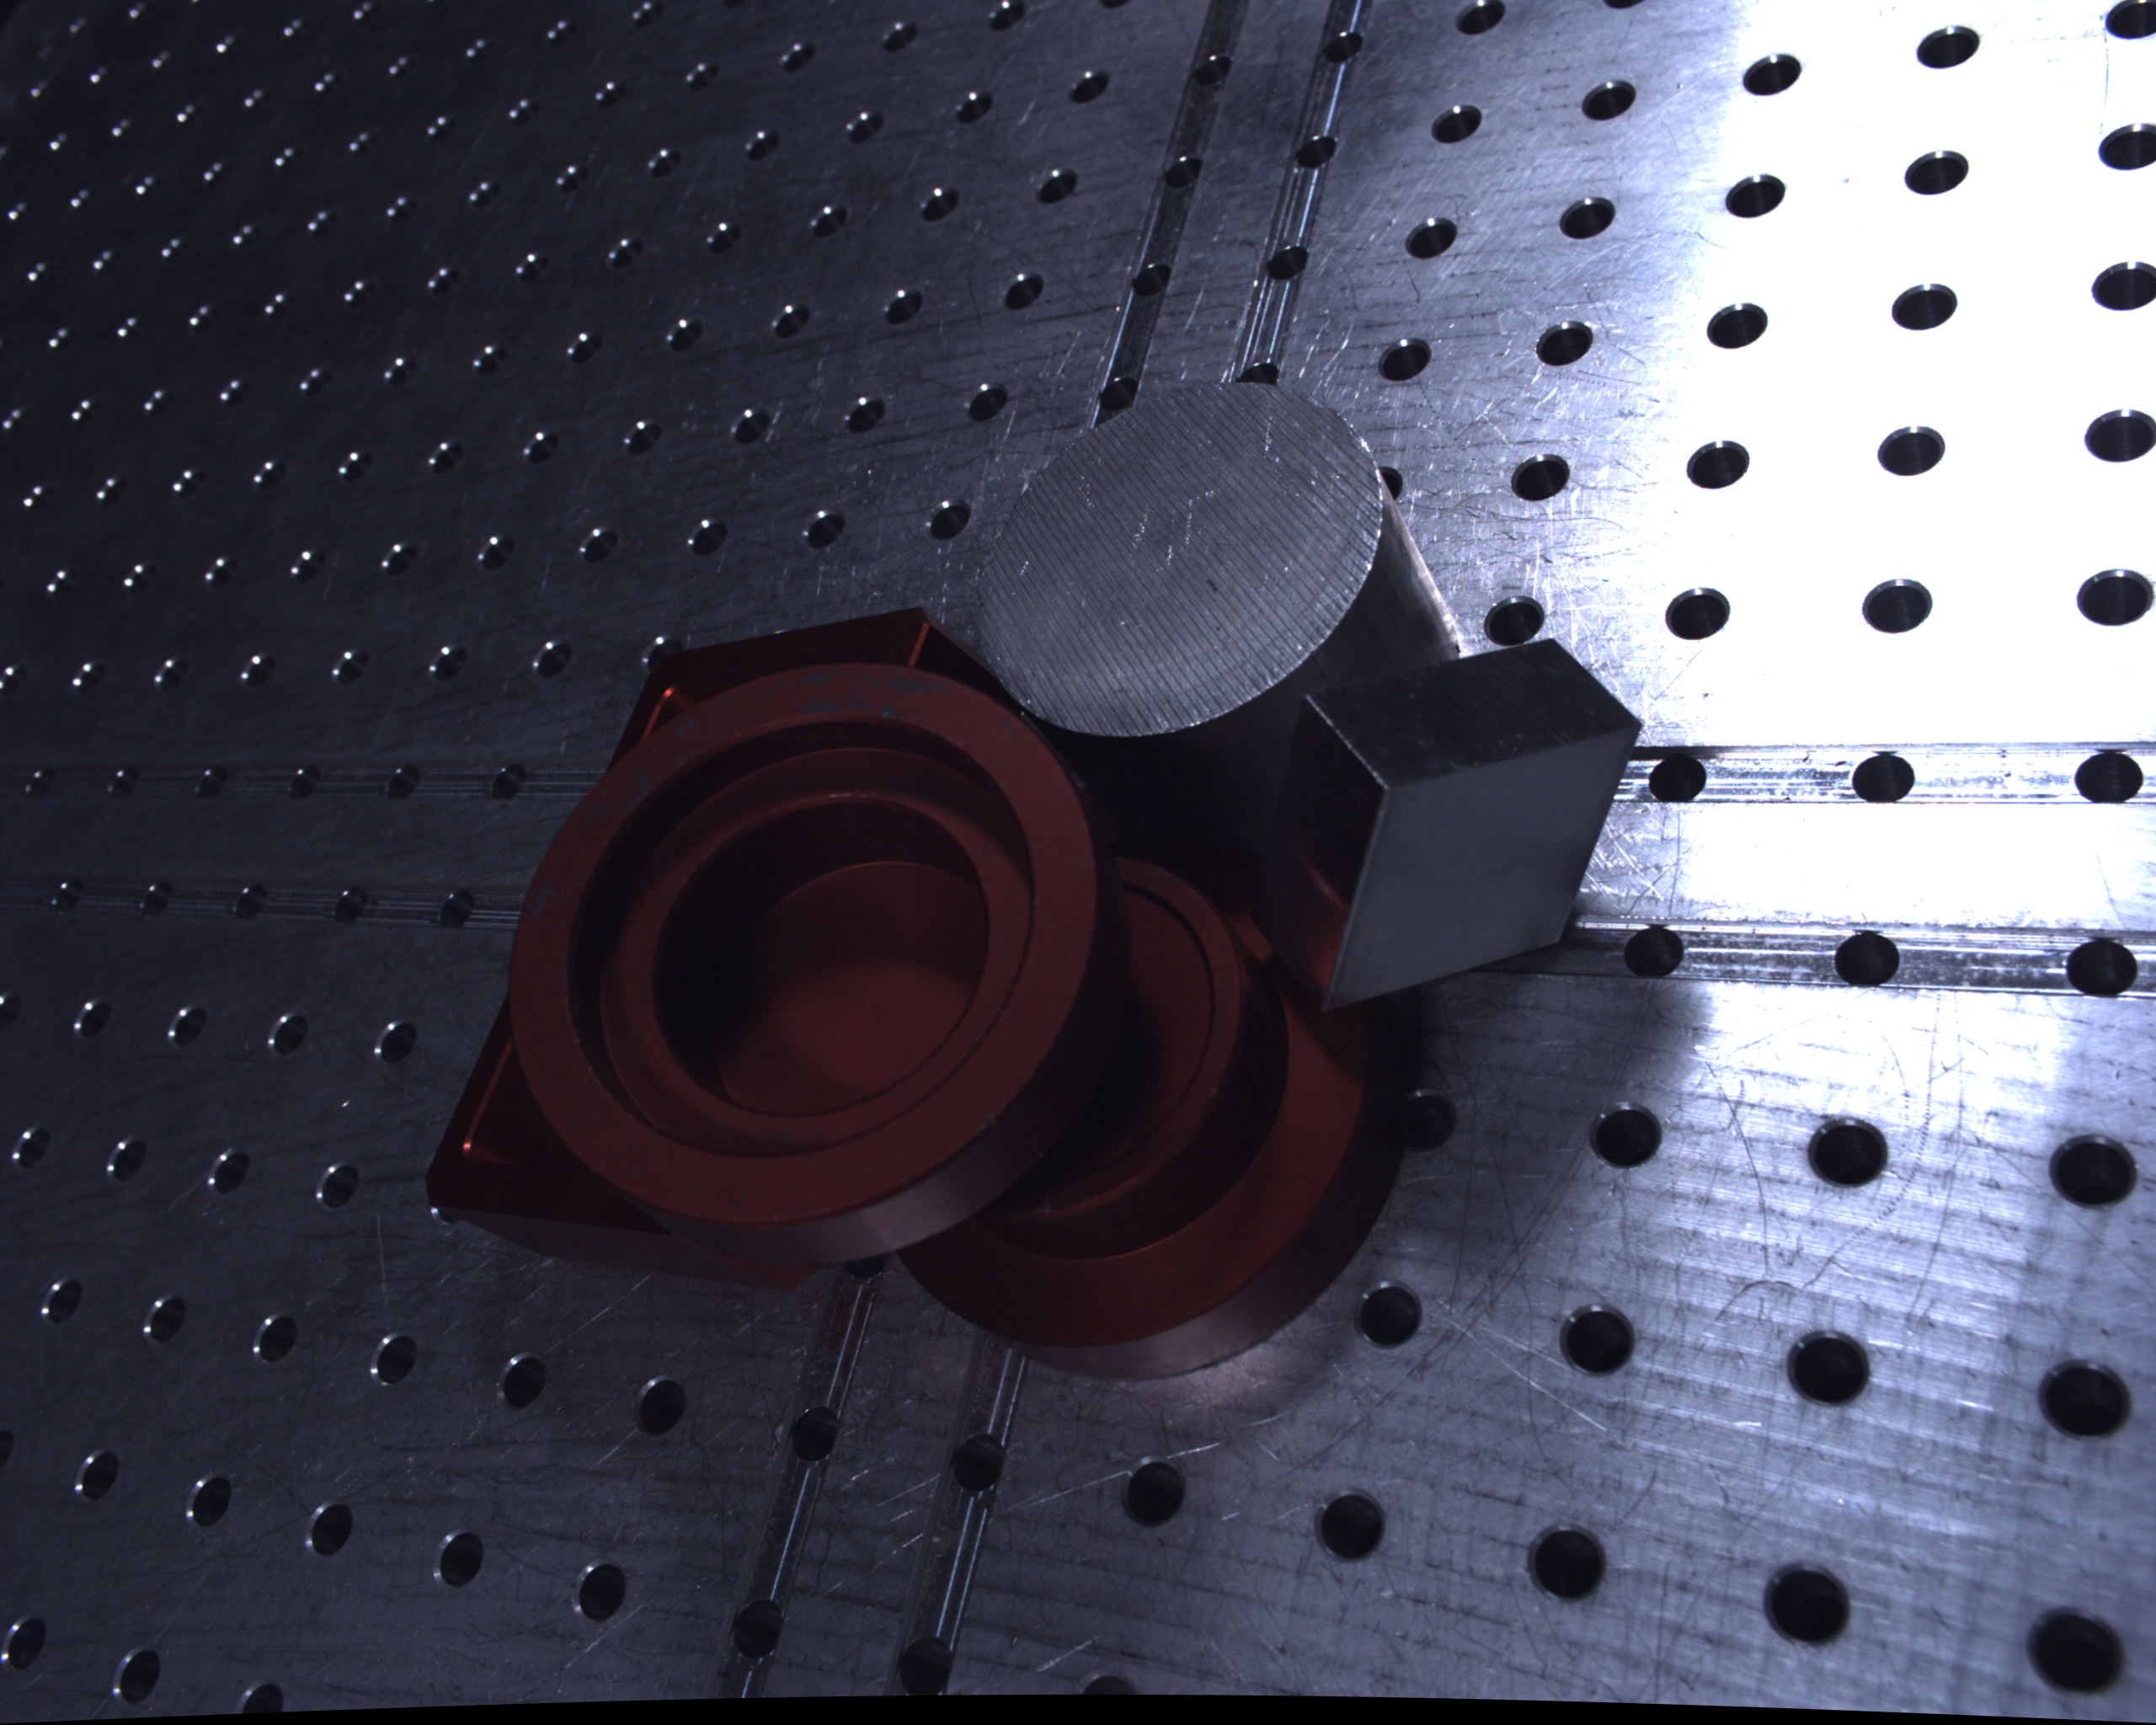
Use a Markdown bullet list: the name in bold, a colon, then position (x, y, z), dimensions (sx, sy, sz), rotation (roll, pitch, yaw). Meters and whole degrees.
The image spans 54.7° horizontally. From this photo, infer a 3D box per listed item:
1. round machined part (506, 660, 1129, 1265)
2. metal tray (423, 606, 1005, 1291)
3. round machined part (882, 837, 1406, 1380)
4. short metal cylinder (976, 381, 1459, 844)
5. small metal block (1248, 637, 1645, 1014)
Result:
- **round machined part**: position (-0.039, 0.019, 0.344), dimensions (0.098, 0.042, 0.098), rotation (-6, 62, 13)
- **metal tray**: position (-0.071, 0.015, 0.417), dimensions (0.090, 0.030, 0.130), rotation (-4, 59, 43)
- **round machined part**: position (0.005, 0.038, 0.369), dimensions (0.098, 0.042, 0.098), rotation (-13, 56, 20)
- **short metal cylinder**: position (0.028, -0.046, 0.404), dimensions (0.080, 0.050, 0.080), rotation (-13, 56, 20)
- **small metal block**: position (0.061, -0.006, 0.351), dimensions (0.050, 0.050, 0.025), rotation (-14, 47, -24)
